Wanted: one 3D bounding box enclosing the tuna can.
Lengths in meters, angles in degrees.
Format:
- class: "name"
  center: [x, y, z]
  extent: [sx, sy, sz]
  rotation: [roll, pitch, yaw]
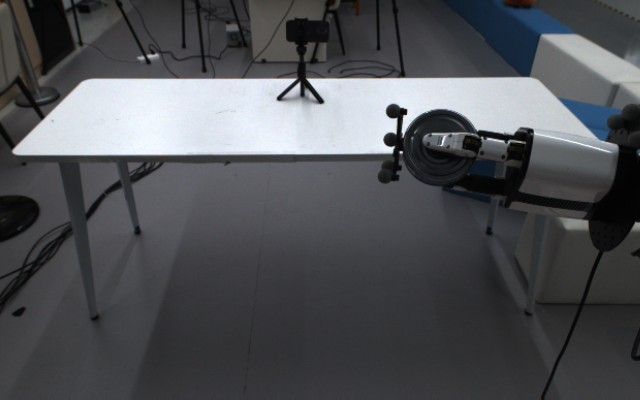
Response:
- class: "tuna can"
  center: [0.142, -0.064, 0.565]
  extent: [0.085, 0.085, 0.034]
  rotation: [9, -7, 10]
